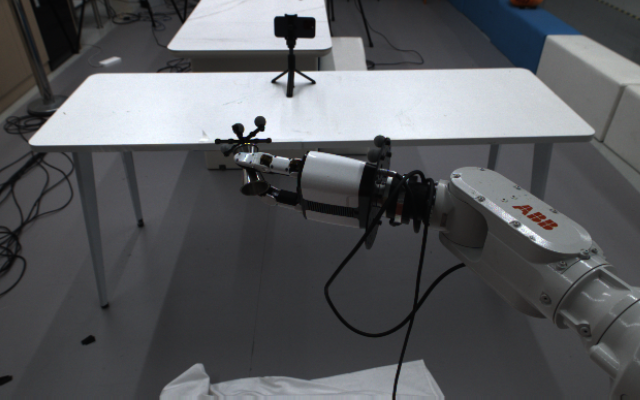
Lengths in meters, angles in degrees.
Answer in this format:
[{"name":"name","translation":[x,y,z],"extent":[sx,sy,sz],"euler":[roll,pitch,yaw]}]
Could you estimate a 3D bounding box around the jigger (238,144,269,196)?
[{"name":"jigger","translation":[-0.104,-0.046,0.724],"extent":[0.043,0.043,0.071],"euler":[-9,65,-16]}]
